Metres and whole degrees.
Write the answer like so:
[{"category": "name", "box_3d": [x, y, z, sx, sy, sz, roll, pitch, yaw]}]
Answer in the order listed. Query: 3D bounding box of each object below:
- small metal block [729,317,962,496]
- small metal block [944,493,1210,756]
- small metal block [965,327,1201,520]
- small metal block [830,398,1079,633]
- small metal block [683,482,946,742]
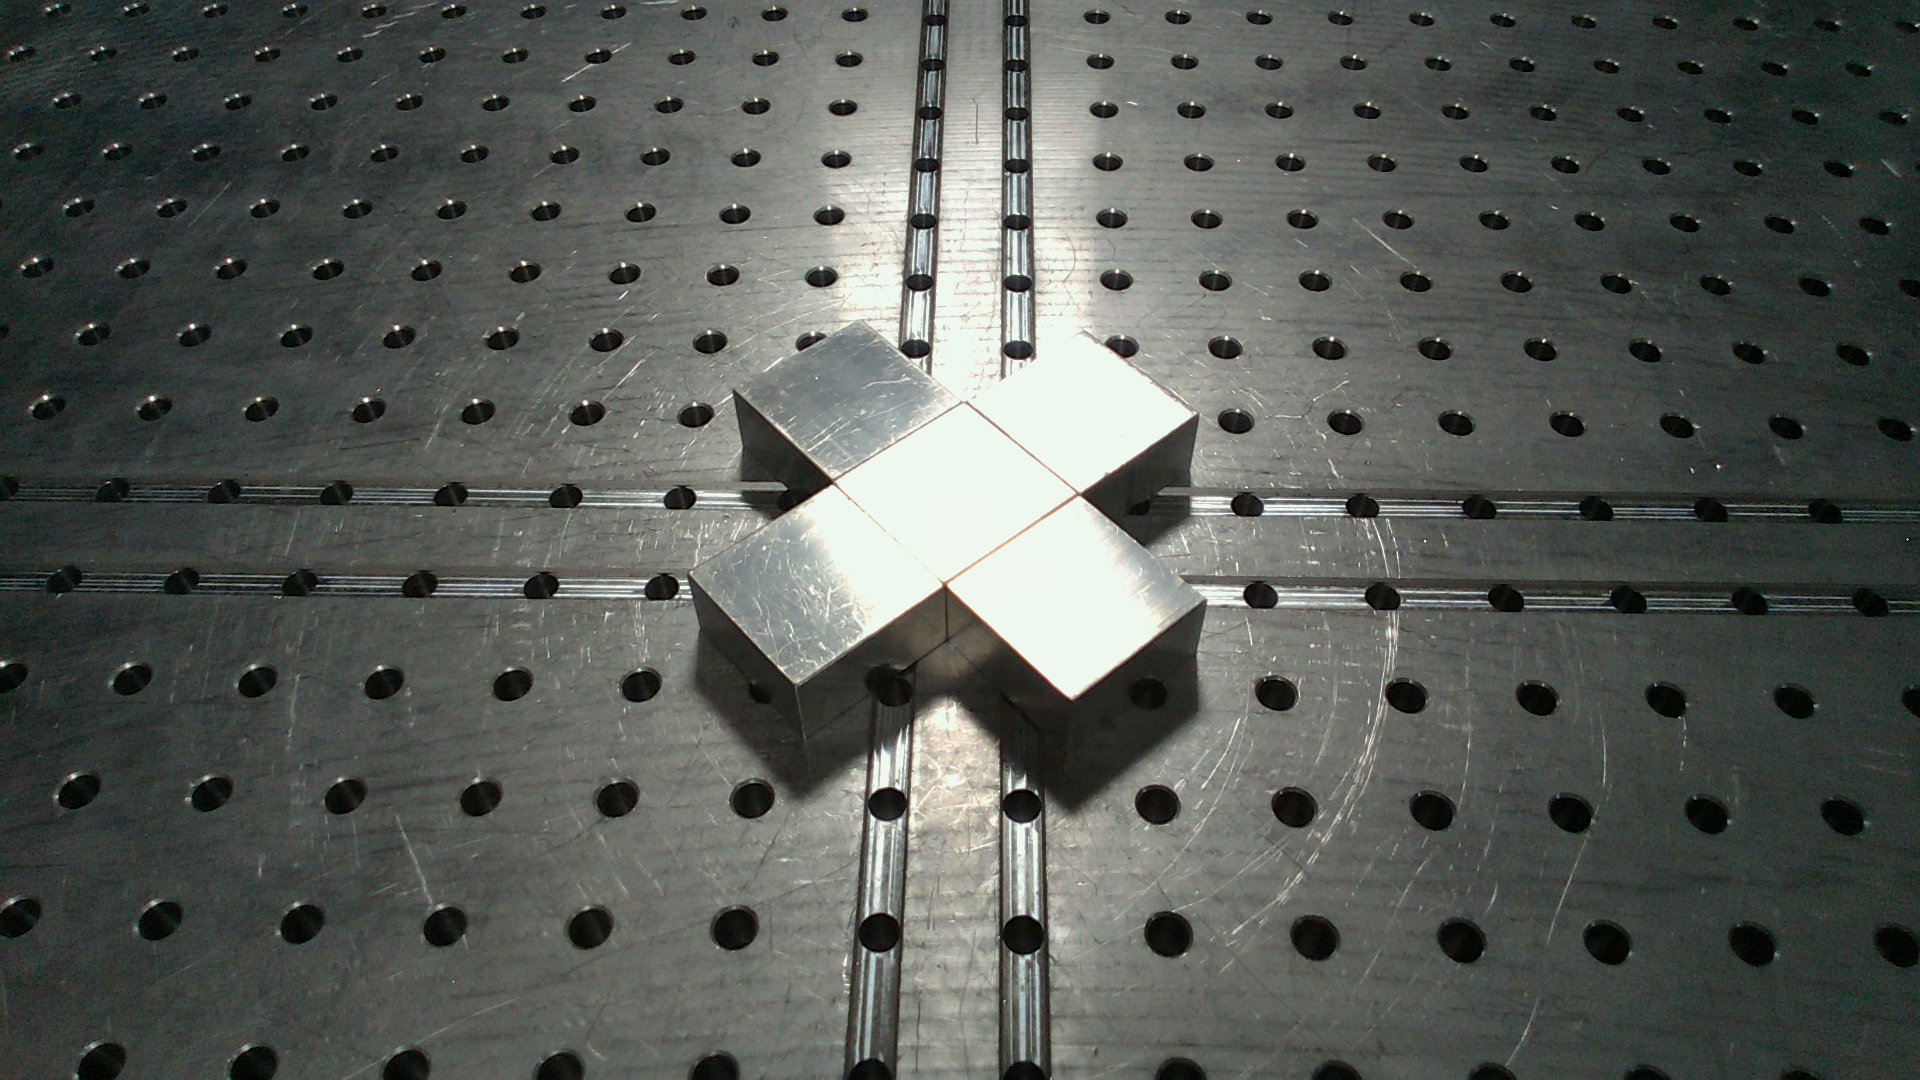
[{"category": "small metal block", "box_3d": [-0.035, -0.036, 0.425, 0.050, 0.025, 0.050, -34, 57, -25]}, {"category": "small metal block", "box_3d": [0.031, 0.022, 0.376, 0.050, 0.025, 0.050, -34, 57, -25]}, {"category": "small metal block", "box_3d": [0.037, -0.032, 0.421, 0.050, 0.025, 0.050, -34, 58, -25]}, {"category": "small metal block", "box_3d": [-0.002, -0.008, 0.400, 0.050, 0.025, 0.050, -34, 58, -25]}, {"category": "small metal block", "box_3d": [-0.039, 0.019, 0.379, 0.050, 0.025, 0.050, -34, 58, -25]}]
